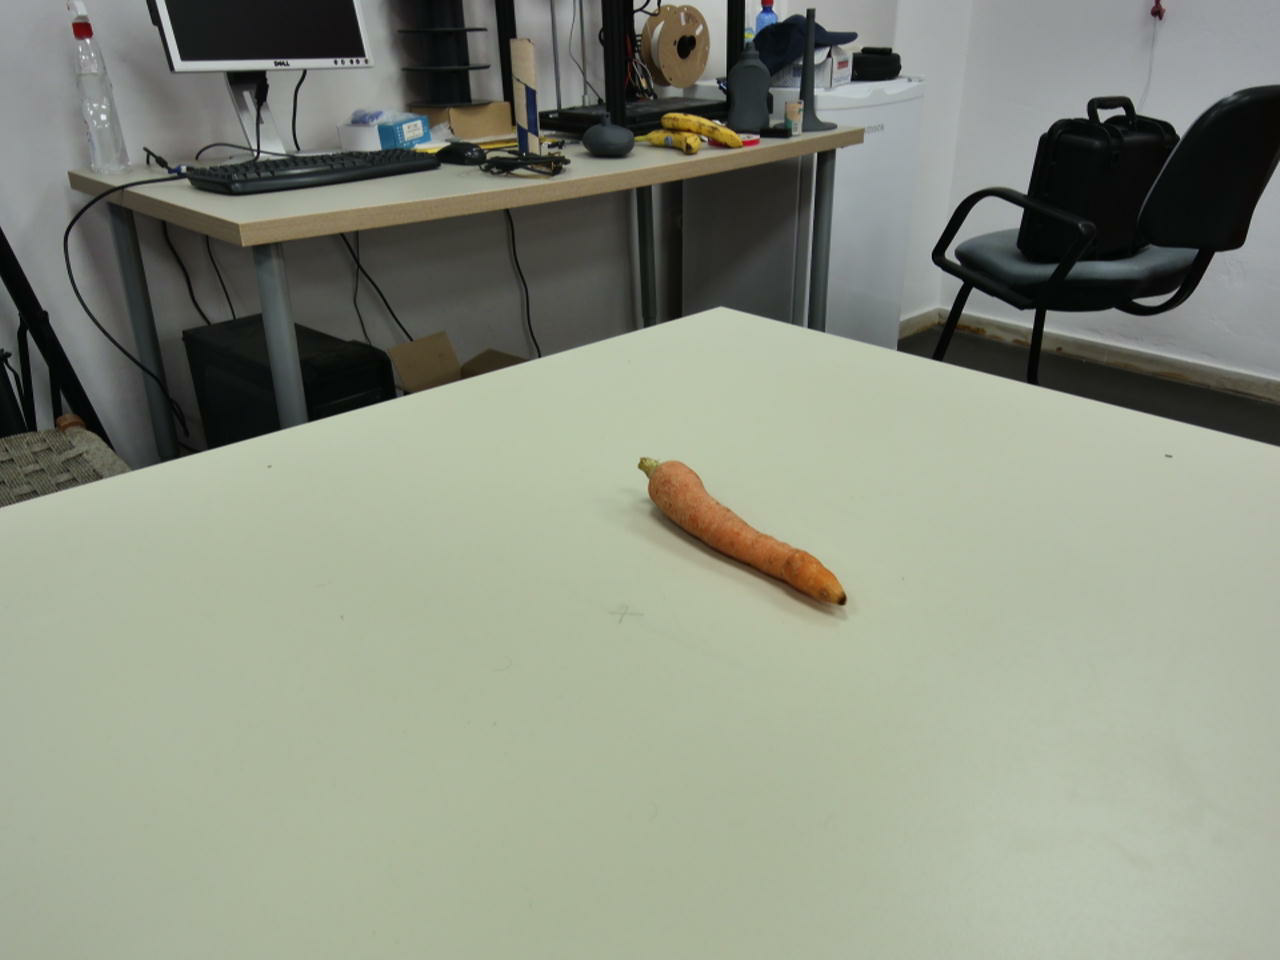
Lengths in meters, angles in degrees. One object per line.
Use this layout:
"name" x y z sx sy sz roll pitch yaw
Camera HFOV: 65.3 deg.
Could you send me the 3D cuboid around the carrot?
"carrot" 0.051 0.025 0.550 0.030 0.032 0.173 -14 27 -29
